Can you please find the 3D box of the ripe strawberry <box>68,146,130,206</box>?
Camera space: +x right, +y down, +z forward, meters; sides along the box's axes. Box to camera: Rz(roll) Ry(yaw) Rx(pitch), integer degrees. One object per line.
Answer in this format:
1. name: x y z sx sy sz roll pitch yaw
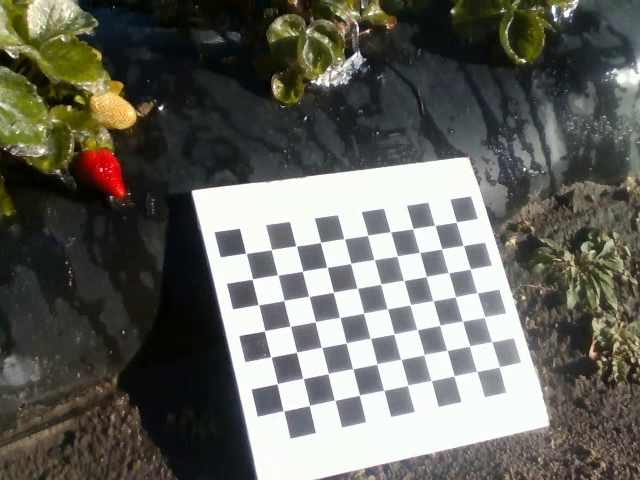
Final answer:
1. ripe strawberry: -0.180 -0.061 0.737 0.041 0.052 0.040 -27 -16 -26
